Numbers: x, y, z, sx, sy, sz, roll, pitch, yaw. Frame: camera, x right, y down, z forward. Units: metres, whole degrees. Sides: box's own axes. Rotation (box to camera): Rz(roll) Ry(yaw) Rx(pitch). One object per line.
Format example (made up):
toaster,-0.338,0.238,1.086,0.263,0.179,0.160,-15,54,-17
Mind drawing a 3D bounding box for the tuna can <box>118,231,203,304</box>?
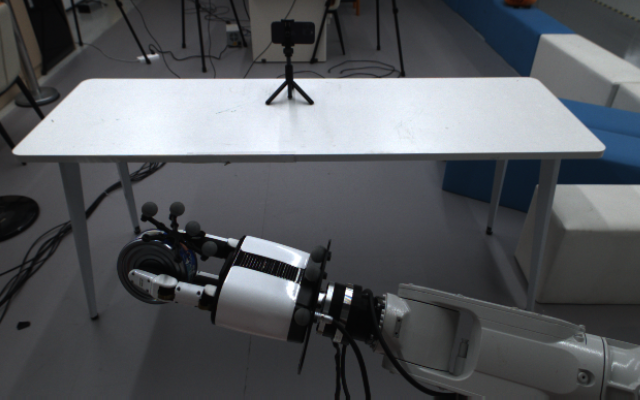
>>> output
tuna can,-0.188,0.078,0.564,0.085,0.085,0.034,6,19,6
